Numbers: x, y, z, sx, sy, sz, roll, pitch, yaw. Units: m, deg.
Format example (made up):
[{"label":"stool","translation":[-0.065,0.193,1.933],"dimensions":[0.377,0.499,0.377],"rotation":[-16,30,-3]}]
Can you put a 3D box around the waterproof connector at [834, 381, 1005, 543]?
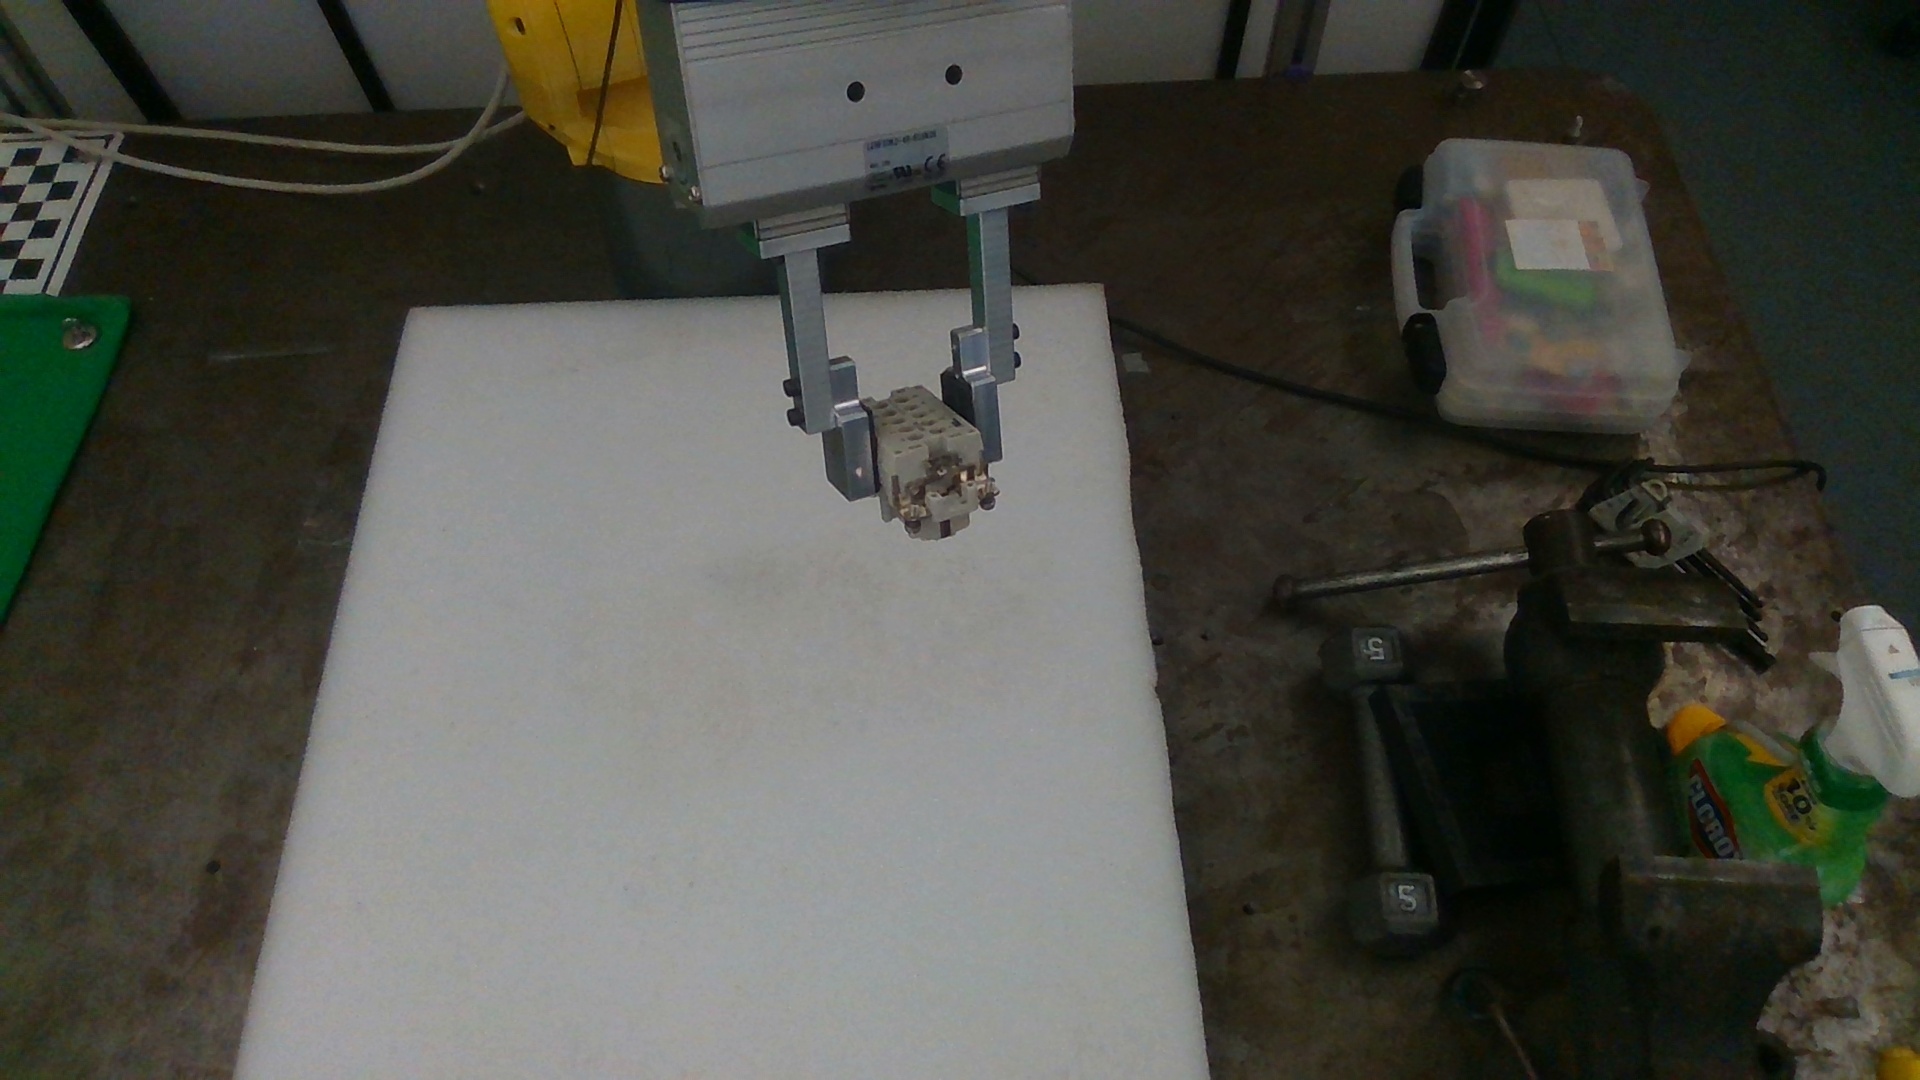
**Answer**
[{"label":"waterproof connector","translation":[-0.016,-0.026,0.482],"dimensions":[0.036,0.038,0.069],"rotation":[-22,37,-21]}]
